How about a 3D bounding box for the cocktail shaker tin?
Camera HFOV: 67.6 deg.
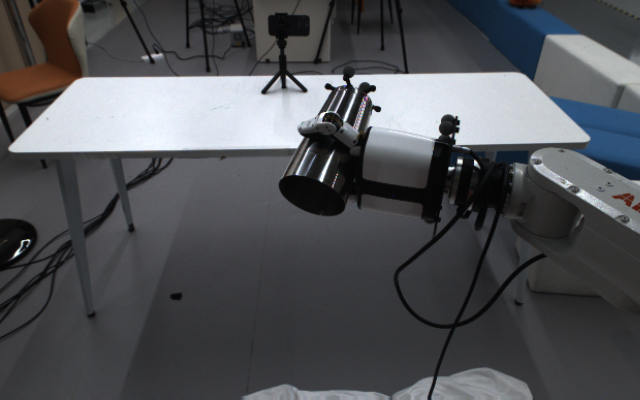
[{"bbox_3d":[0.016,-0.073,0.661,0.093,0.093,0.170,14,61,17],"label":"cocktail shaker tin"}]
